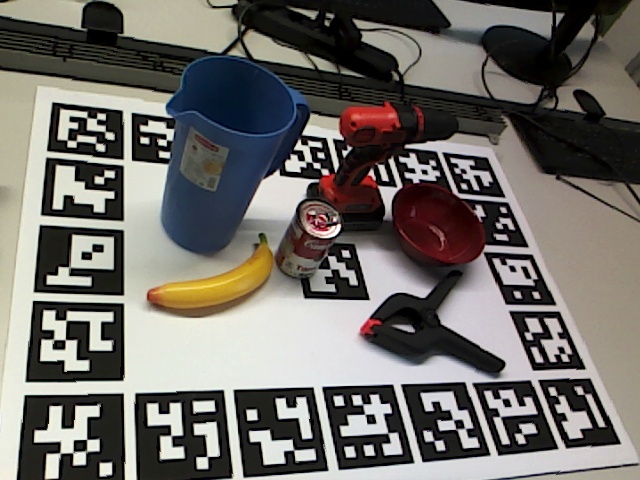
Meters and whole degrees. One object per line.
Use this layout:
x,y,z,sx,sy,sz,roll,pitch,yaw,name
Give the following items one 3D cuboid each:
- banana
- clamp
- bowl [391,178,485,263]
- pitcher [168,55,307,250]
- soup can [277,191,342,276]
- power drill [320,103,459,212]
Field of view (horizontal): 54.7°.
-0.131,0.049,0.808,0.196,0.039,0.074,-23,57,-37,banana
0.154,0.108,0.874,0.202,0.037,0.166,0,58,-24,clamp
0.177,-0.020,0.982,0.161,0.055,0.162,11,51,-15,bowl
-0.117,-0.103,0.795,0.188,0.242,0.134,-22,62,-35,pitcher
-0.017,-0.008,0.859,0.068,0.102,0.068,12,42,-11,soup can
0.092,-0.120,0.911,0.183,0.187,0.057,-2,55,-26,power drill
